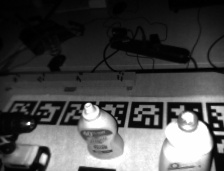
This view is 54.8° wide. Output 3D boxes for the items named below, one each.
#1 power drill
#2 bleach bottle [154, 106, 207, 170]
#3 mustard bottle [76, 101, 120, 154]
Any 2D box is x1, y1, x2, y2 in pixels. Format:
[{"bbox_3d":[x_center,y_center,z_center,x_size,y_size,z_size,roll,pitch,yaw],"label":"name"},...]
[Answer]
[{"bbox_3d":[-0.236,0.116,0.530,0.183,0.189,0.057,-8,45,14],"label":"power drill"},{"bbox_3d":[0.126,0.123,0.425,0.101,0.253,0.068,5,48,21],"label":"bleach bottle"},{"bbox_3d":[-0.039,0.102,0.537,0.096,0.193,0.058,-6,45,8],"label":"mustard bottle"}]
